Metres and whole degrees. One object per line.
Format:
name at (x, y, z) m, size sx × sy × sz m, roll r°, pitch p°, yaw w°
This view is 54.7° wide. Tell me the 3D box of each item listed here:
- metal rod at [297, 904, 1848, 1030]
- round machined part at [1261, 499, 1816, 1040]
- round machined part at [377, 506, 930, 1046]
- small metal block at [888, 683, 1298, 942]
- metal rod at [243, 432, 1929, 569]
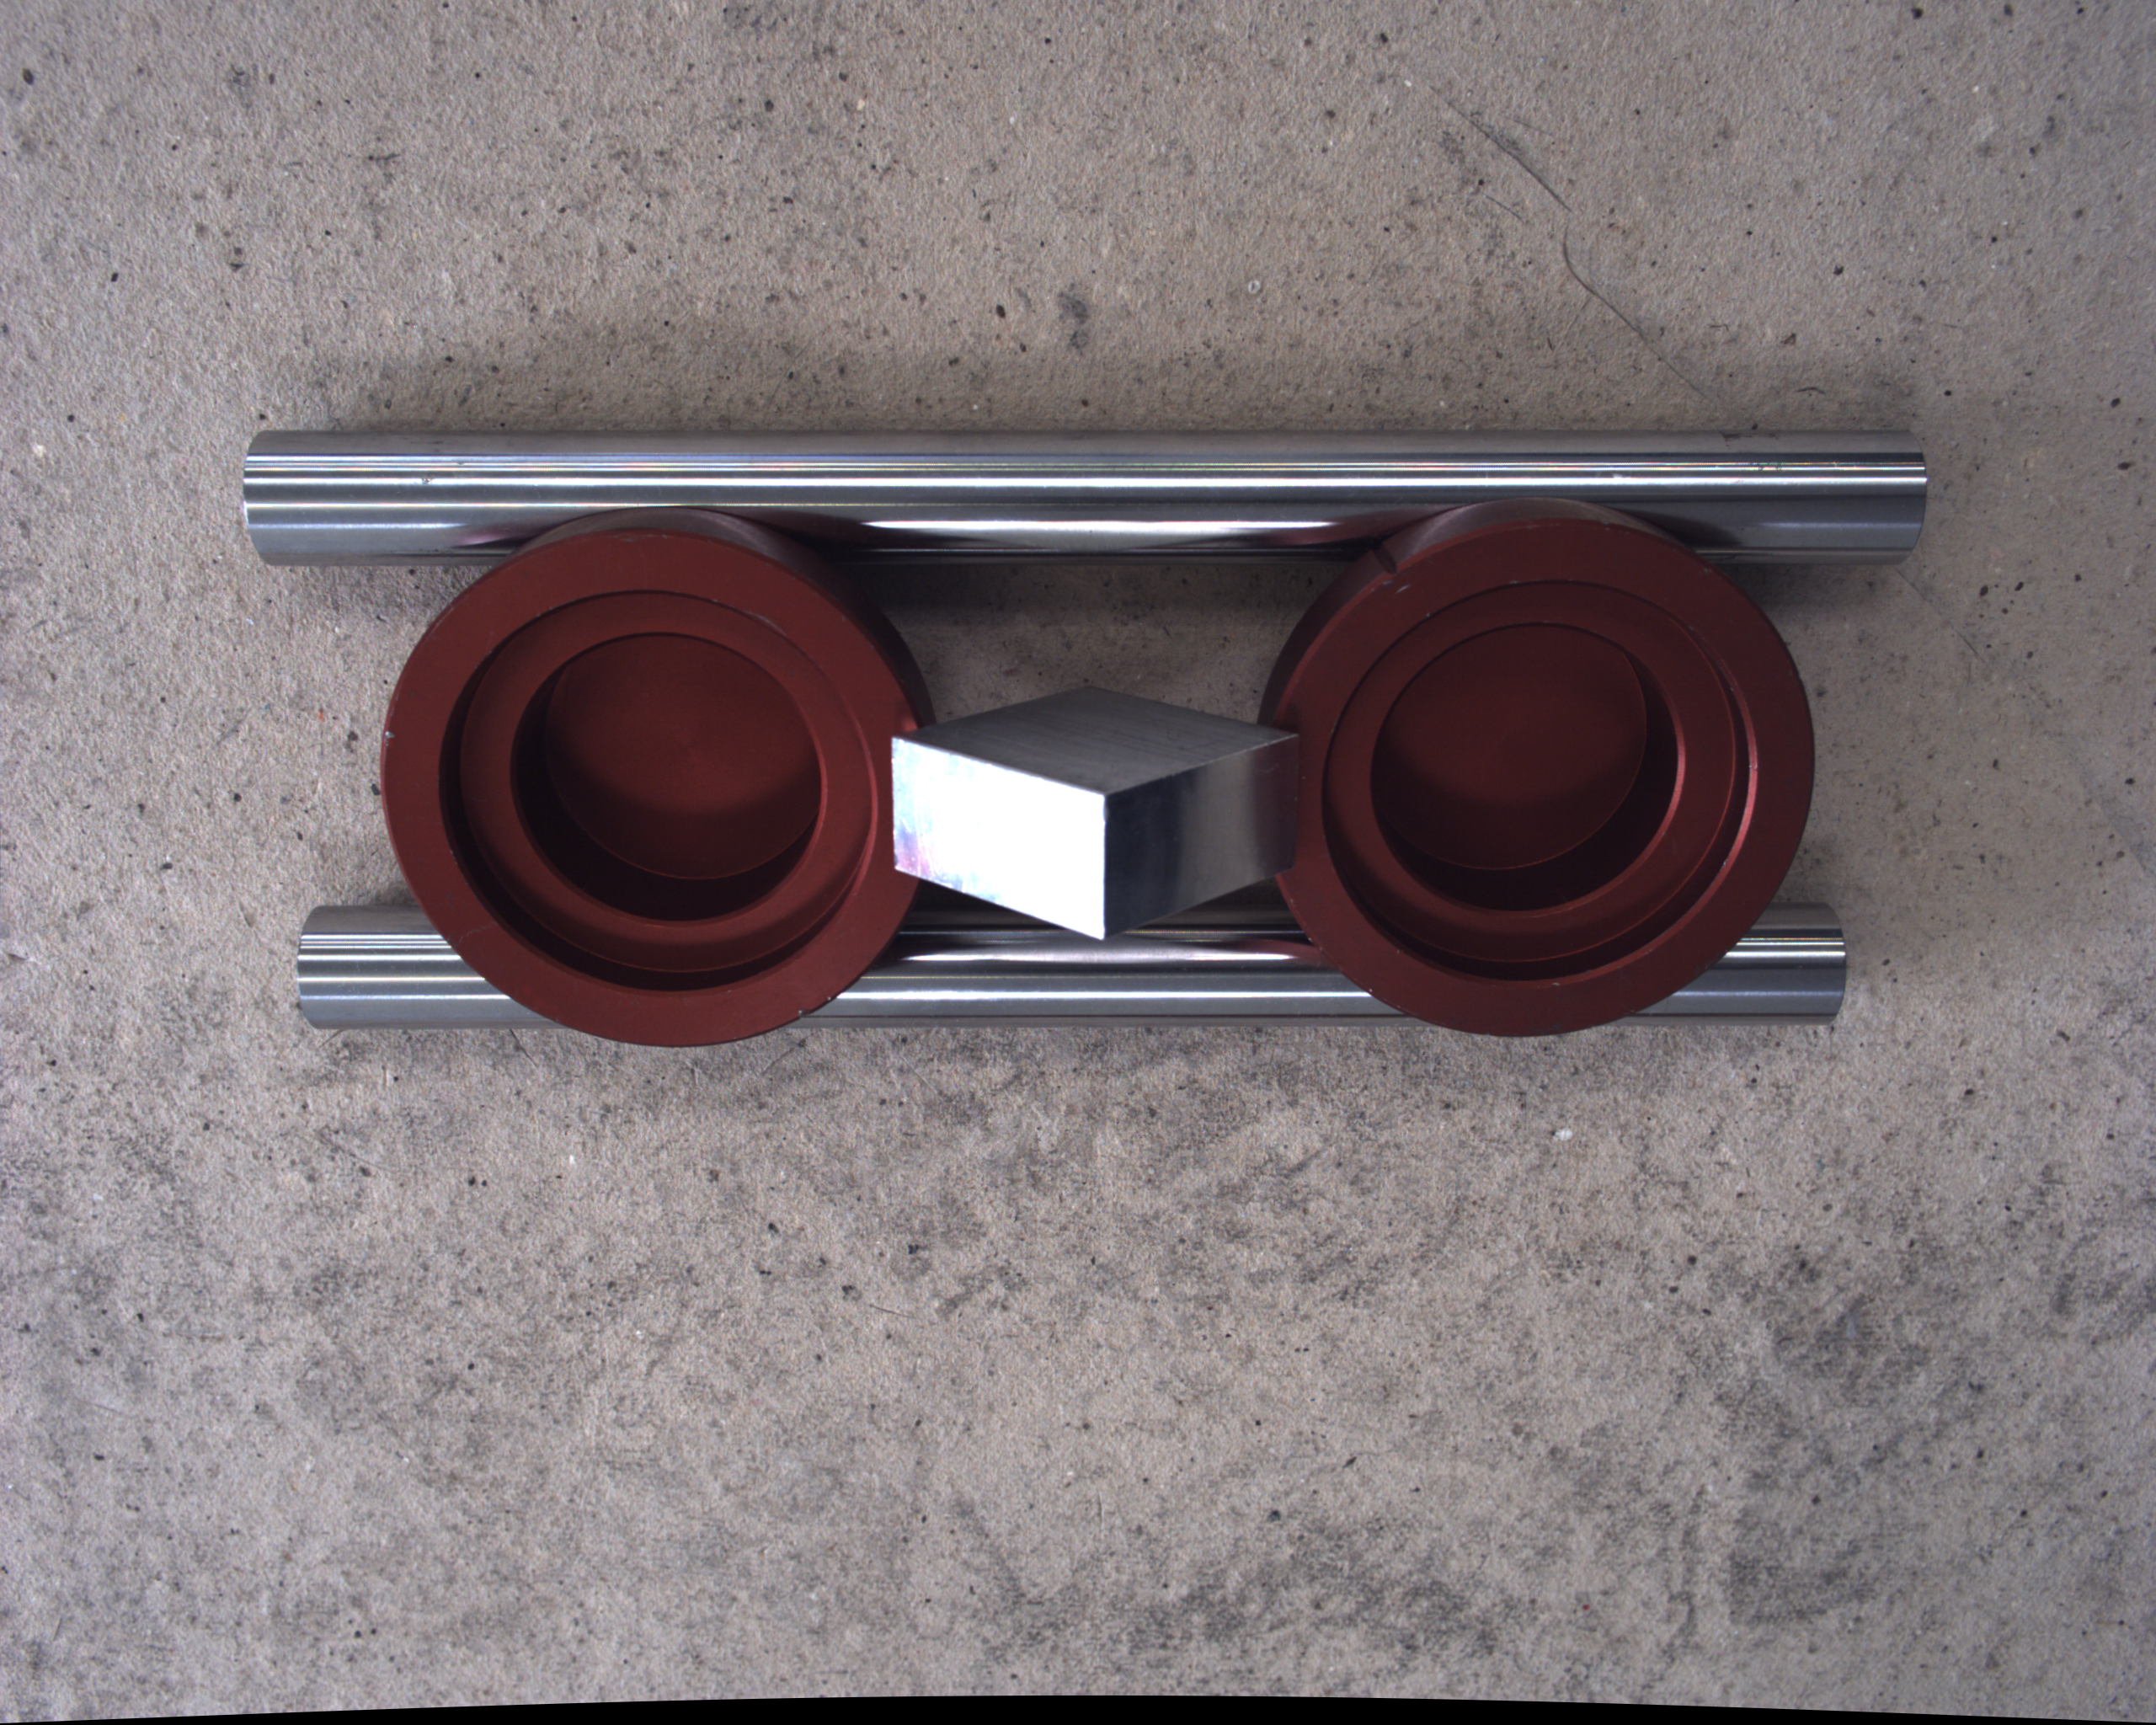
metal rod at (-0.001, 0.021, 0.418) m, size 0.302 × 0.025 × 0.025 m, roll 0°, pitch 110°, yaw -1°
round machined part at (0.082, -0.020, 0.390) m, size 0.099 × 0.042 × 0.097 m, roll 0°, pitch 110°, yaw 0°
round machined part at (-0.075, -0.019, 0.390) m, size 0.099 × 0.042 × 0.097 m, roll 0°, pitch 110°, yaw 0°
small metal block at (0.003, -0.011, 0.366) m, size 0.050 × 0.050 × 0.025 m, roll 17°, pitch 116°, yaw 40°
metal rod at (0.002, -0.067, 0.386) m, size 0.302 × 0.025 × 0.025 m, roll 0°, pitch 110°, yaw -1°
